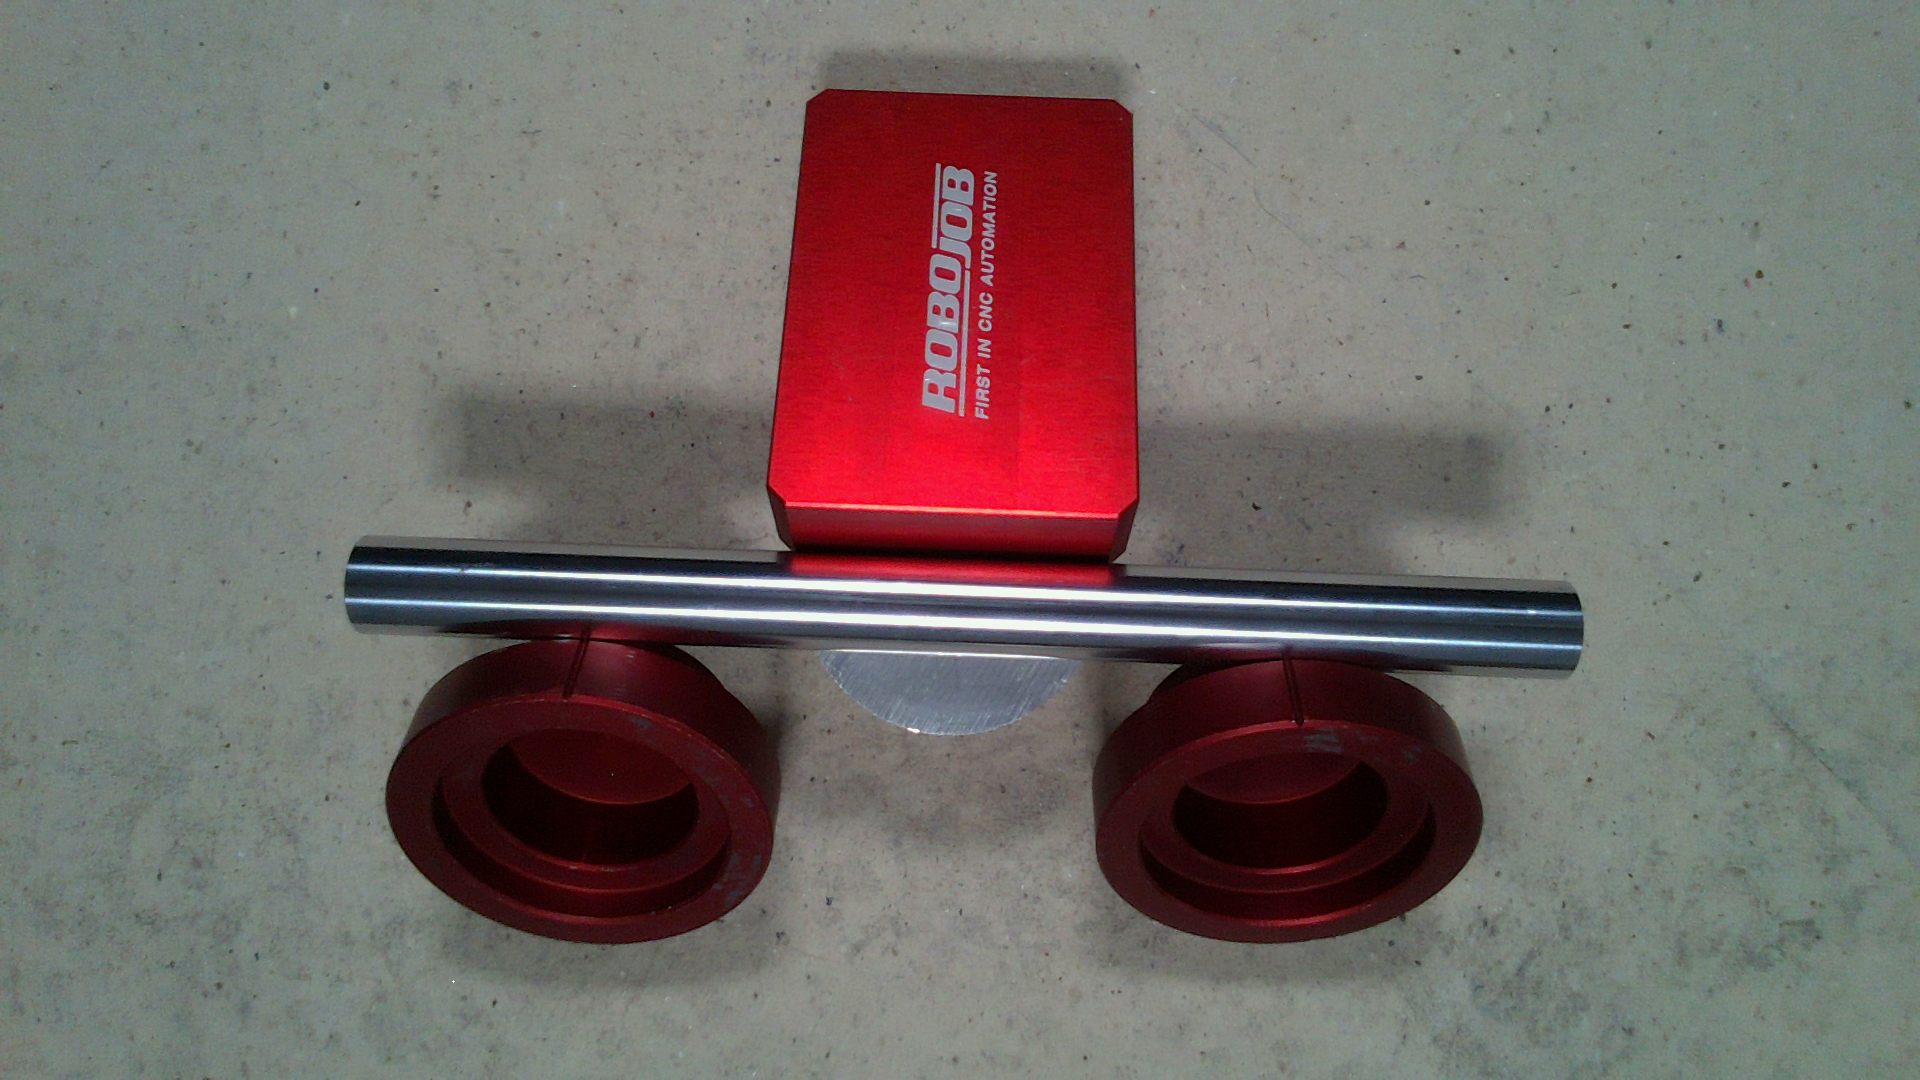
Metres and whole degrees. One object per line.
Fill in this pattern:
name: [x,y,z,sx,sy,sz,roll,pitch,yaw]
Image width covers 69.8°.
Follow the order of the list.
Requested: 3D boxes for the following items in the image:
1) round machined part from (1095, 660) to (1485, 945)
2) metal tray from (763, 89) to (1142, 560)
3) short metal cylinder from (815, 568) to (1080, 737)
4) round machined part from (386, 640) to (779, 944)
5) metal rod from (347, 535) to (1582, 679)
round machined part: [0.085,0.065,0.370,0.098,0.042,0.098,0,133,0]
metal tray: [0.000,-0.059,0.366,0.090,0.030,0.130,2,64,0]
short metal cylinder: [-0.003,0.011,0.383,0.080,0.050,0.080,0,90,0]
round machined part: [-0.098,0.062,0.371,0.098,0.042,0.098,-1,128,0]
metal rod: [0.001,0.017,0.346,0.300,0.025,0.025,2,90,0]
